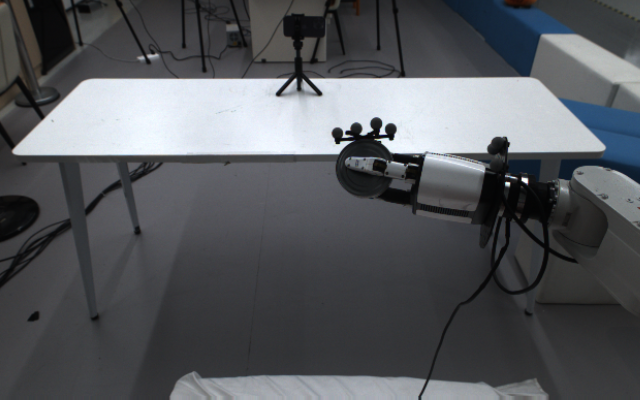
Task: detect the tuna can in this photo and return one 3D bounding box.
[{"bbox_3d":[0.068,-0.046,0.719,0.085,0.085,0.034,10,-6,11],"label":"tuna can"}]
